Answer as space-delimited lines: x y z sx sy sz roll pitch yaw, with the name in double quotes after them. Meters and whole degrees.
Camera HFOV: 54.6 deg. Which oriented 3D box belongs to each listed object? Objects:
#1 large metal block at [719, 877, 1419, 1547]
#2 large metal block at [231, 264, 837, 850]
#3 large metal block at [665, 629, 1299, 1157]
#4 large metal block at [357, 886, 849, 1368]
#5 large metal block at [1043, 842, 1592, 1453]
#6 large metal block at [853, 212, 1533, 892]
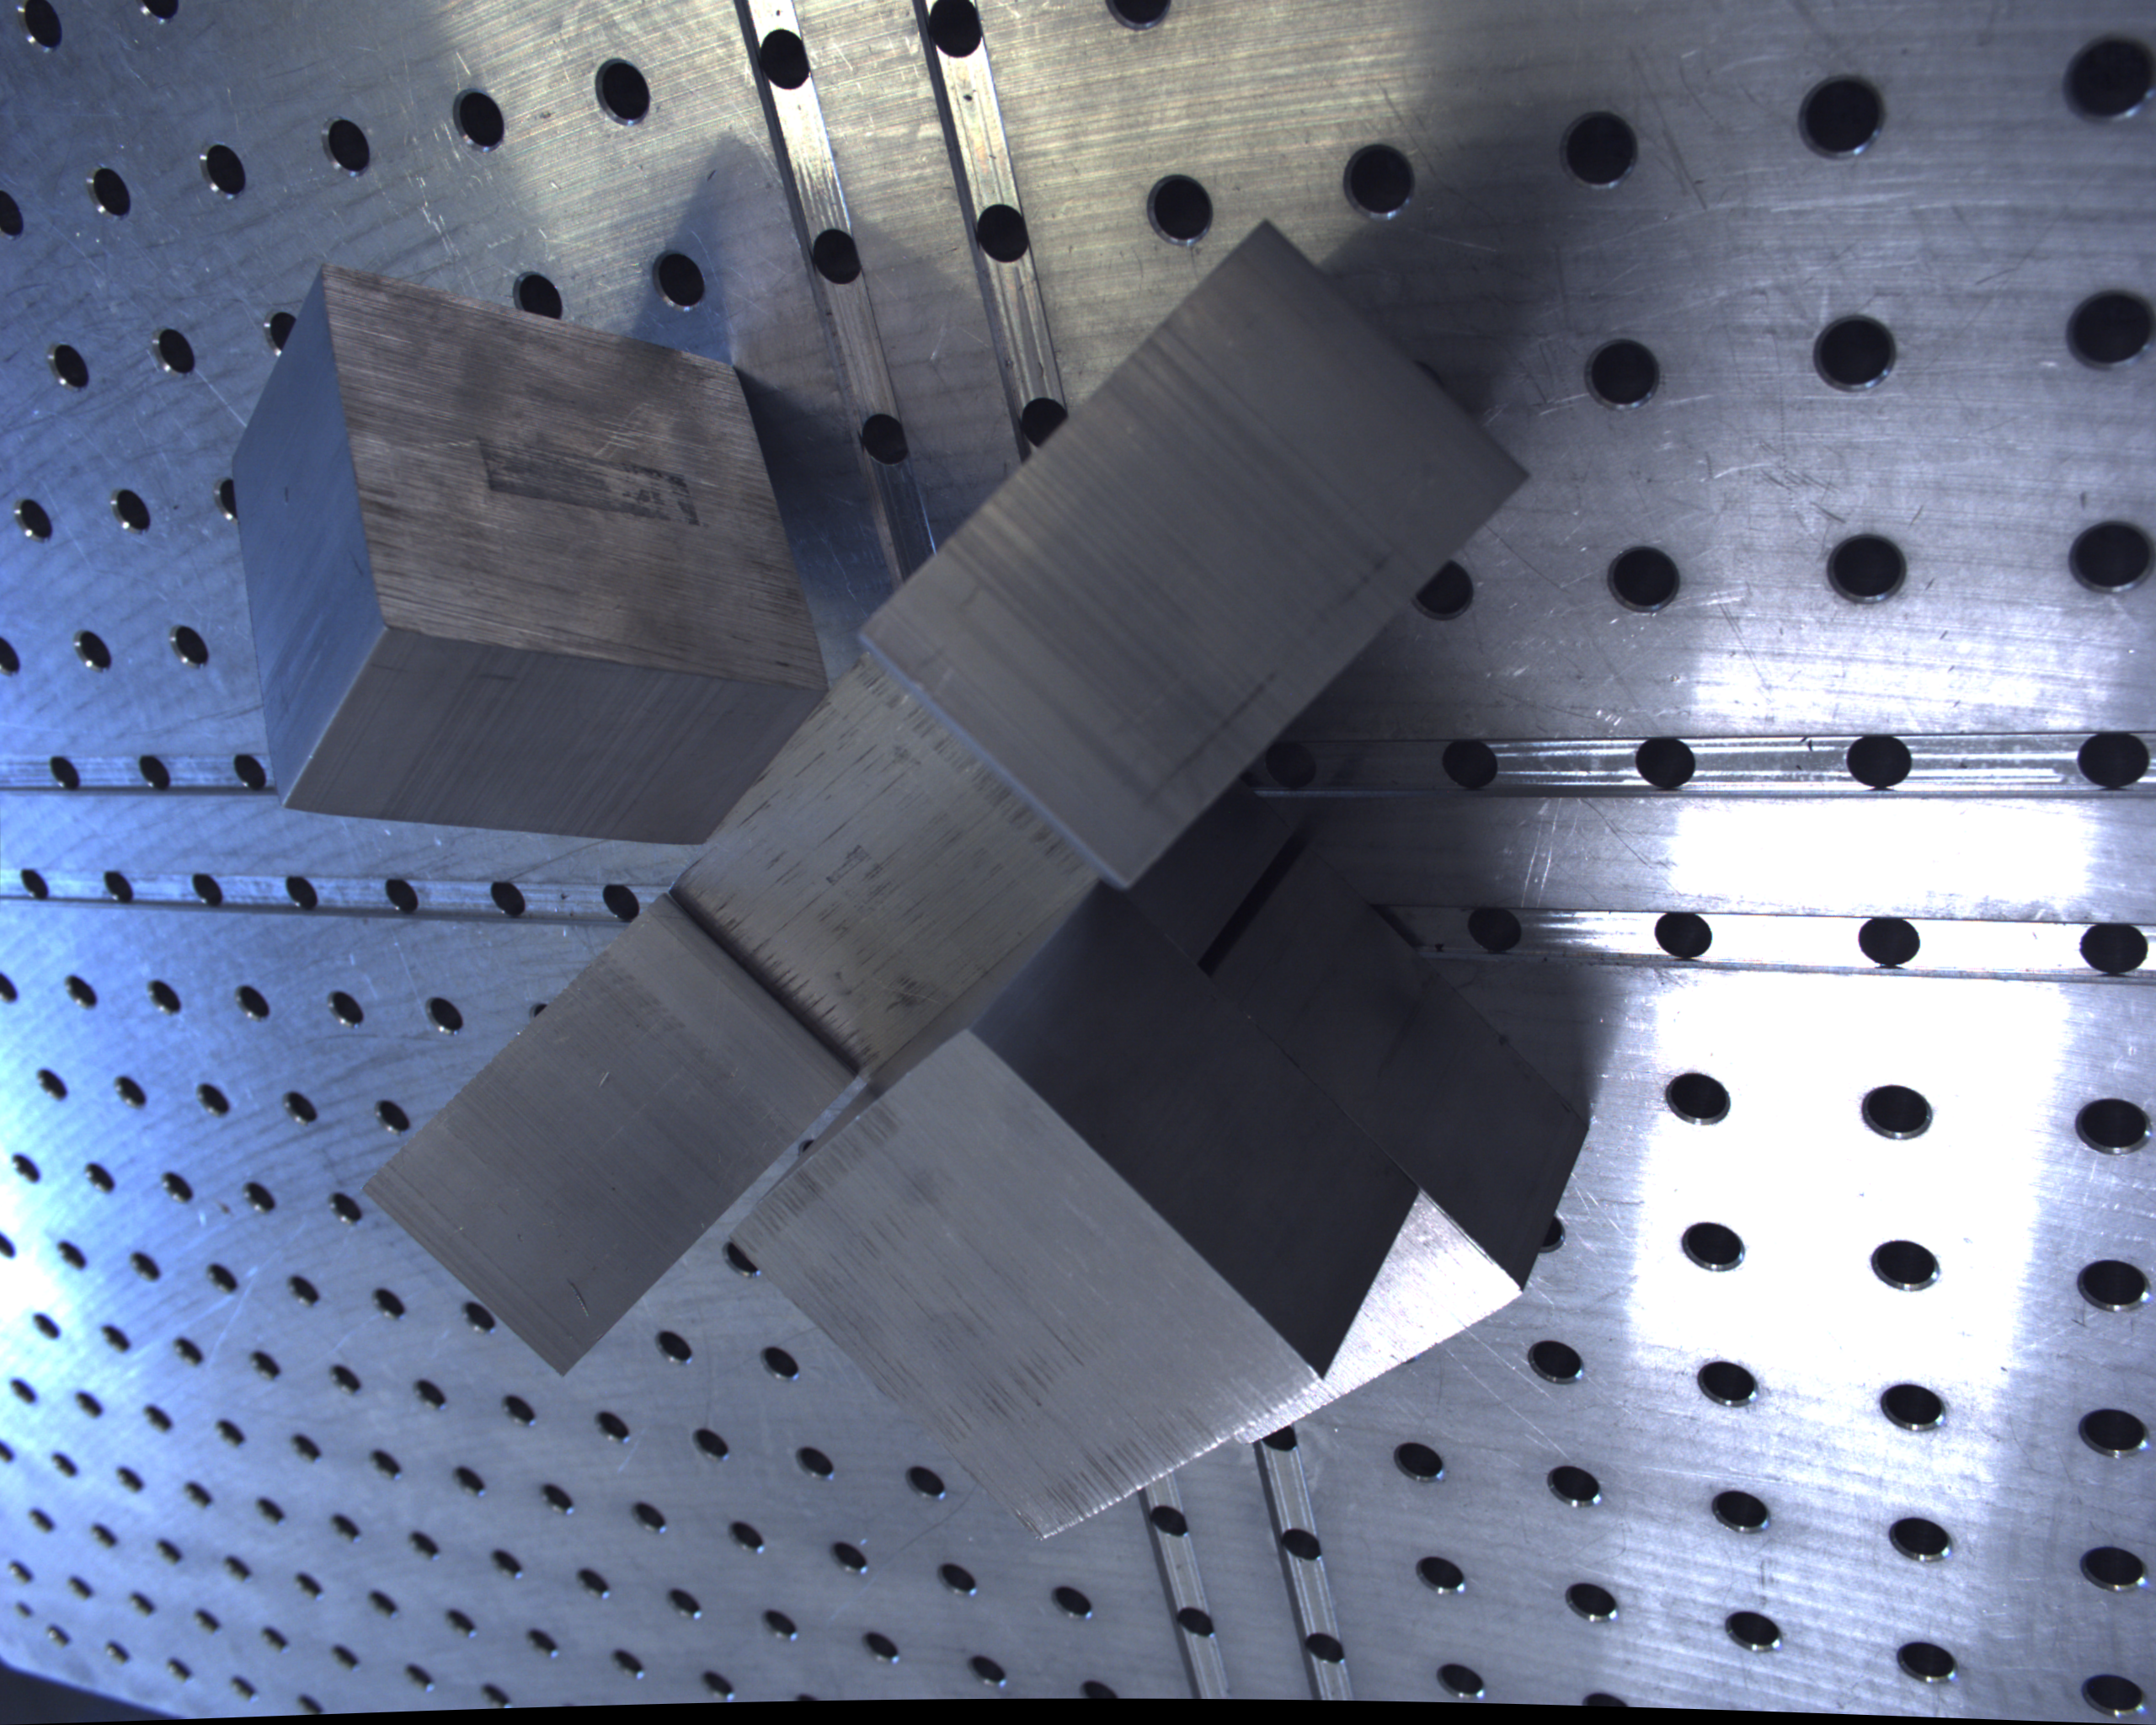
-0.002 0.062 0.369 0.080 0.050 0.080 44 128 -4 "large metal block"
-0.099 -0.052 0.377 0.050 0.081 0.080 -44 54 39 "large metal block"
-0.019 -0.001 0.405 0.080 0.050 0.080 44 129 -2 "large metal block"
-0.096 0.054 0.440 0.050 0.080 0.080 45 171 -2 "large metal block"
0.038 0.057 0.410 0.080 0.050 0.080 46 128 -2 "large metal block"
0.015 -0.043 0.322 0.050 0.080 0.080 44 89 -2 "large metal block"
